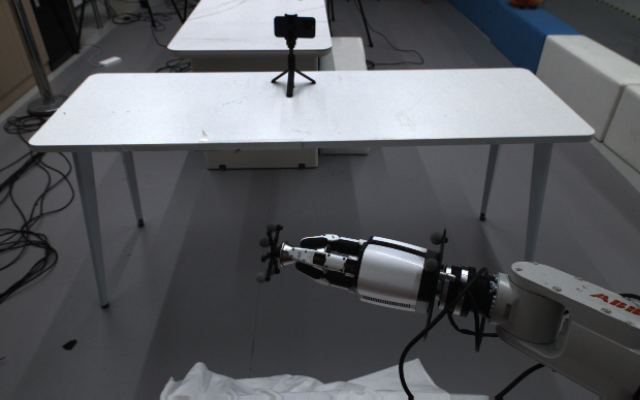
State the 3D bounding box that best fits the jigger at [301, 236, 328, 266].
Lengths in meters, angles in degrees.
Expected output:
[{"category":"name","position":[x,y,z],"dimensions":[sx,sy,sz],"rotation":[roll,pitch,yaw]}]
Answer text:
[{"category":"jigger","position":[-0.015,0.081,0.721],"dimensions":[0.071,0.043,0.043],"rotation":[5,34,14]}]
